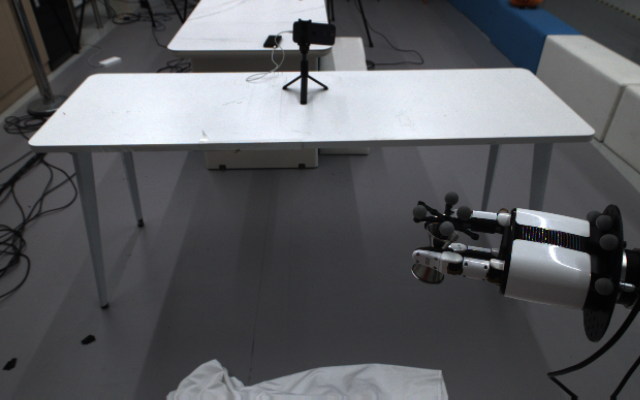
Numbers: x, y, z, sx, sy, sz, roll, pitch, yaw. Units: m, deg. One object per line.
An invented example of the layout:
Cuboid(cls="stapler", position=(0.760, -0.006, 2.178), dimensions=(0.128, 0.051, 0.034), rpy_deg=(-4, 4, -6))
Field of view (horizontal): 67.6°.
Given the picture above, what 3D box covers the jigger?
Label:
Cuboid(cls="jigger", position=(0.146, 0.067, 0.619), dimensions=(0.043, 0.071, 0.043), rpy_deg=(9, 30, -5))
